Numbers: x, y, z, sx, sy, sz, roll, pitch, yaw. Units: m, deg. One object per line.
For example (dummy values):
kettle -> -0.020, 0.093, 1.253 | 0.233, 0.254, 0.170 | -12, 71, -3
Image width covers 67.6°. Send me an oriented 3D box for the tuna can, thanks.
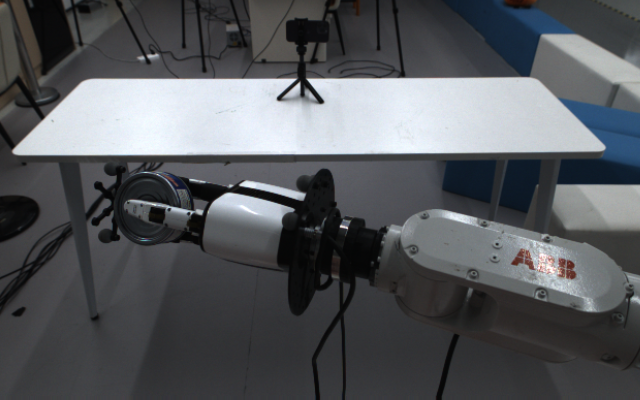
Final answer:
tuna can -> -0.189, 0.009, 0.558 | 0.085, 0.085, 0.034 | 10, 3, 11
